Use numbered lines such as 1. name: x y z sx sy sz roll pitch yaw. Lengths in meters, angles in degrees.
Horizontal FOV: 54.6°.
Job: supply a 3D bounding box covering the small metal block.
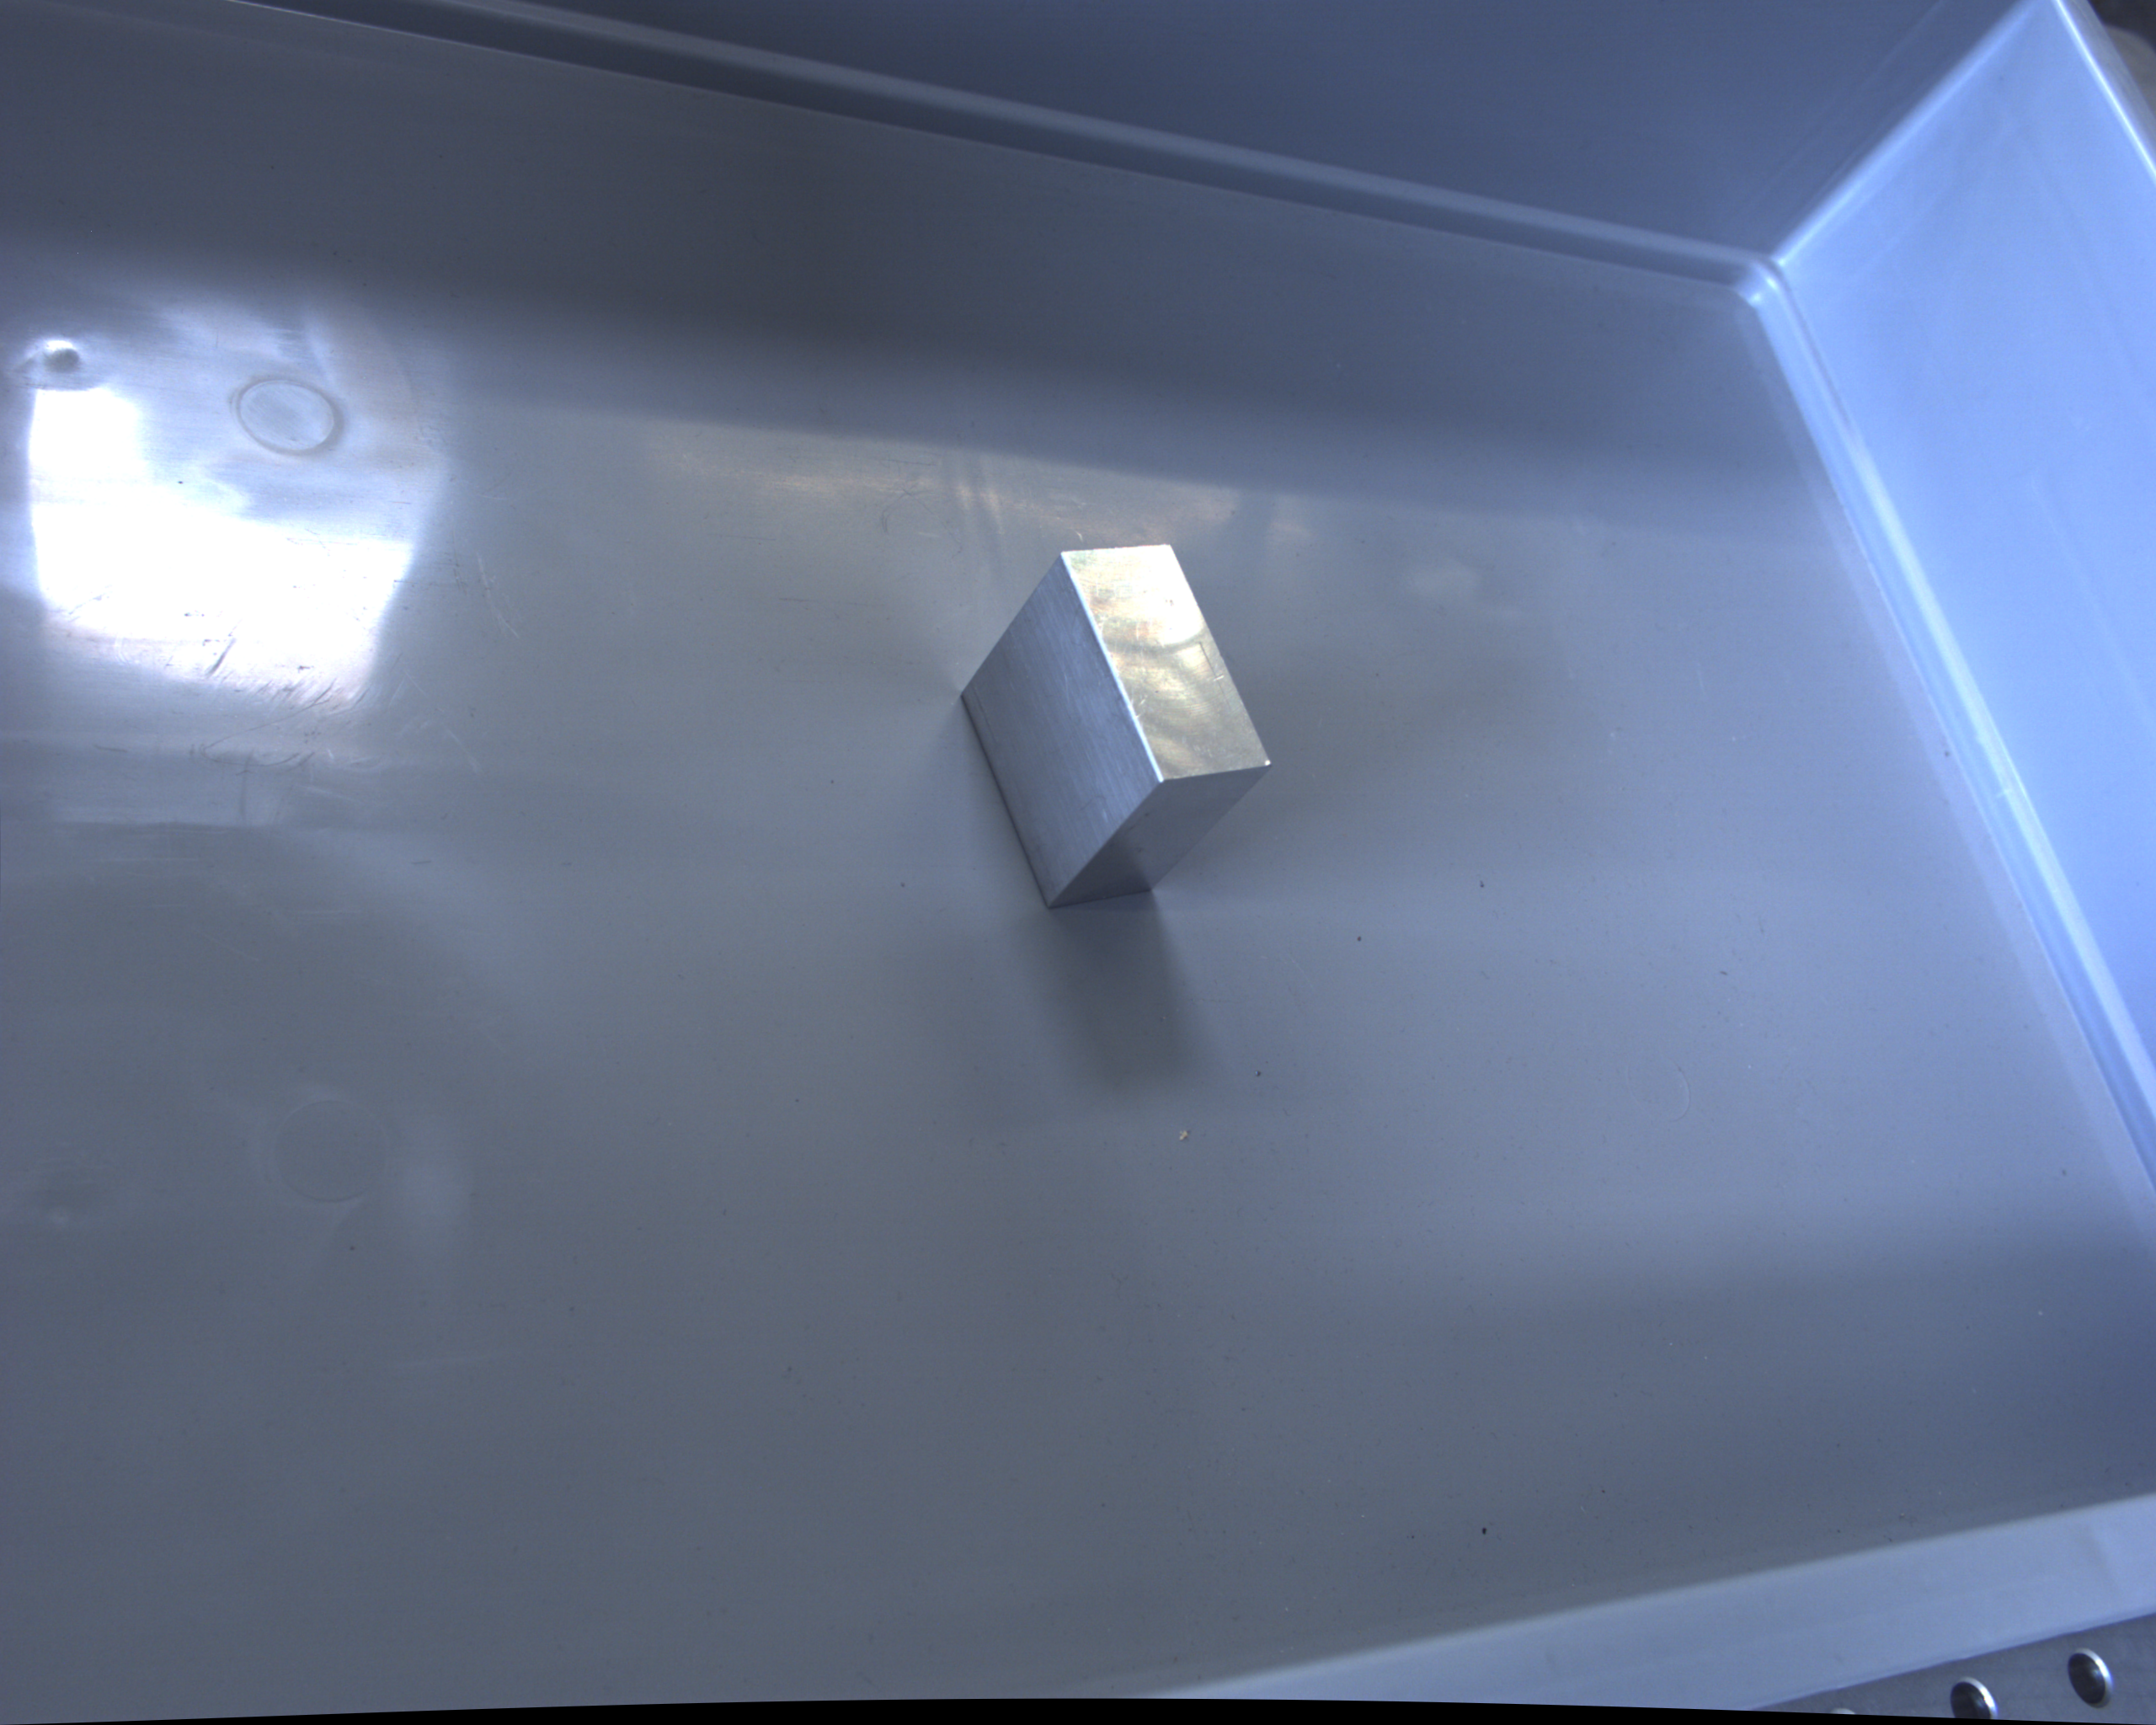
1. small metal block: 0.006 -0.026 0.404 0.025 0.050 0.050 -9 66 -32
